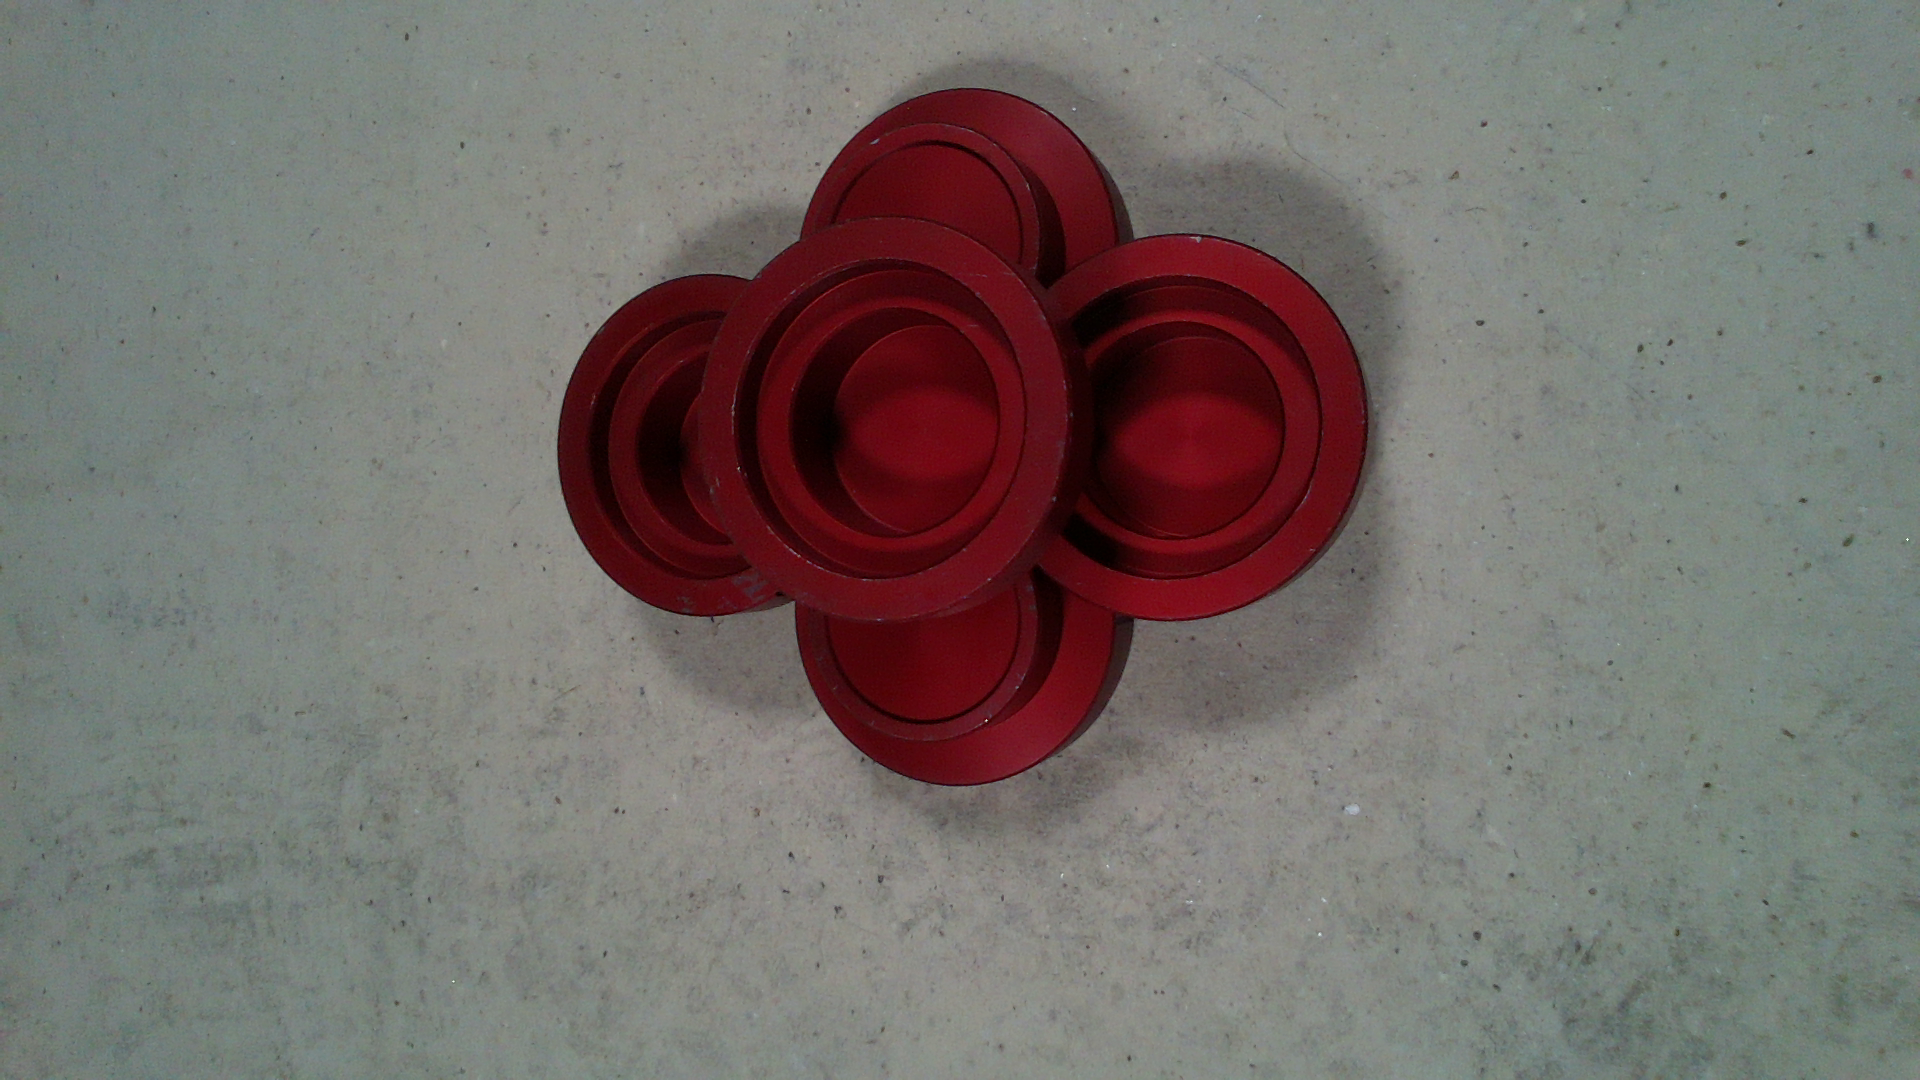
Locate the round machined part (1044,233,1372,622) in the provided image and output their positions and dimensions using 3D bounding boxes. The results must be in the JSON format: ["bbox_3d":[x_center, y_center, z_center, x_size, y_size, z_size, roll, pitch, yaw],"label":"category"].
[{"bbox_3d":[0.060,-0.028,0.365,0.098,0.042,0.098,0,90,20],"label":"round machined part"}]

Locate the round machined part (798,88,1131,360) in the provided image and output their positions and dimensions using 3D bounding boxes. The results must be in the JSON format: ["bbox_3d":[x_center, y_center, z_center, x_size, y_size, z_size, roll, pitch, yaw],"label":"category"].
[{"bbox_3d":[-0.003,-0.079,0.388,0.098,0.042,0.098,0,90,20],"label":"round machined part"}]

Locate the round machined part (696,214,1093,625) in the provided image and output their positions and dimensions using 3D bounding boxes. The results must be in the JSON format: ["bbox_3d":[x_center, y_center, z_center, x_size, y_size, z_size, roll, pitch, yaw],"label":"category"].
[{"bbox_3d":[-0.013,-0.029,0.347,0.098,0.042,0.098,0,90,20],"label":"round machined part"}]

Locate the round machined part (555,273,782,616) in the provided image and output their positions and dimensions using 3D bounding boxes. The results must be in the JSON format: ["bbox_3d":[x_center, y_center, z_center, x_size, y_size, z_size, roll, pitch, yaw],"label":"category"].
[{"bbox_3d":[-0.068,-0.027,0.411,0.098,0.042,0.098,0,90,20],"label":"round machined part"}]

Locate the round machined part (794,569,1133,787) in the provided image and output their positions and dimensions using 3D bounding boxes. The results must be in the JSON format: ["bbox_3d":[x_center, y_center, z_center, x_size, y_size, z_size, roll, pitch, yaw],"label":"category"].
[{"bbox_3d":[-0.004,0.021,0.388,0.098,0.042,0.098,0,90,20],"label":"round machined part"}]
